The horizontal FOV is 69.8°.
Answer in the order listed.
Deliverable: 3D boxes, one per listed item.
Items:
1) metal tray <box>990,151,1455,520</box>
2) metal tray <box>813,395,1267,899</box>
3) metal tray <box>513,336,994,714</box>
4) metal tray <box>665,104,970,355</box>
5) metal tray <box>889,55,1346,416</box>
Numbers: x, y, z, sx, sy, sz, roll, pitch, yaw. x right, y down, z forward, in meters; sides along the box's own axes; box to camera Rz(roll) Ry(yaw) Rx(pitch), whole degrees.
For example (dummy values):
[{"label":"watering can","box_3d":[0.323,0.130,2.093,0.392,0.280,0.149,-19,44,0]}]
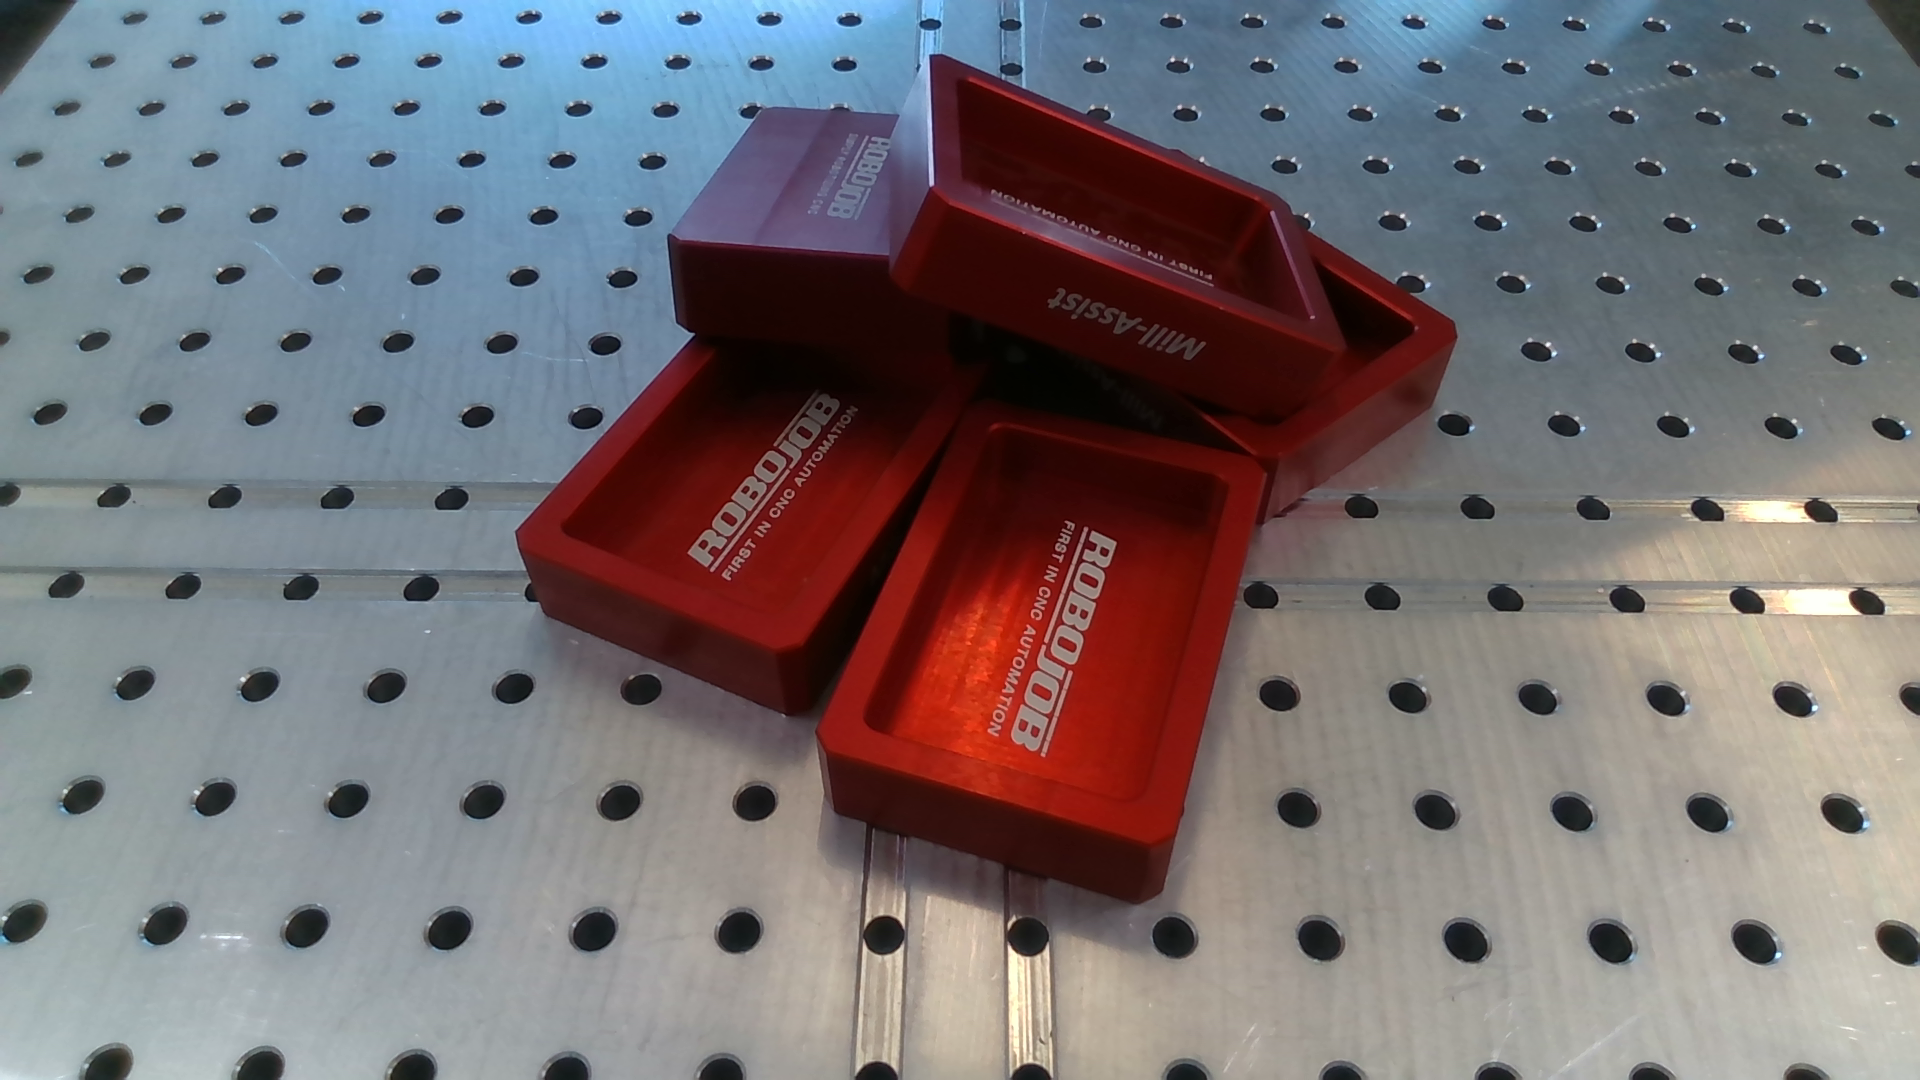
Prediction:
[{"label":"metal tray","box_3d":[0.081,-0.073,0.453,0.090,0.030,0.130,-32,57,-25]},{"label":"metal tray","box_3d":[0.026,0.022,0.373,0.090,0.030,0.130,14,52,12]},{"label":"metal tray","box_3d":[-0.056,-0.020,0.409,0.090,0.030,0.130,20,53,16]},{"label":"metal tray","box_3d":[-0.036,-0.109,0.462,0.090,0.030,0.130,5,36,5]},{"label":"metal tray","box_3d":[0.045,-0.091,0.414,0.130,0.030,0.090,17,40,-17]}]
